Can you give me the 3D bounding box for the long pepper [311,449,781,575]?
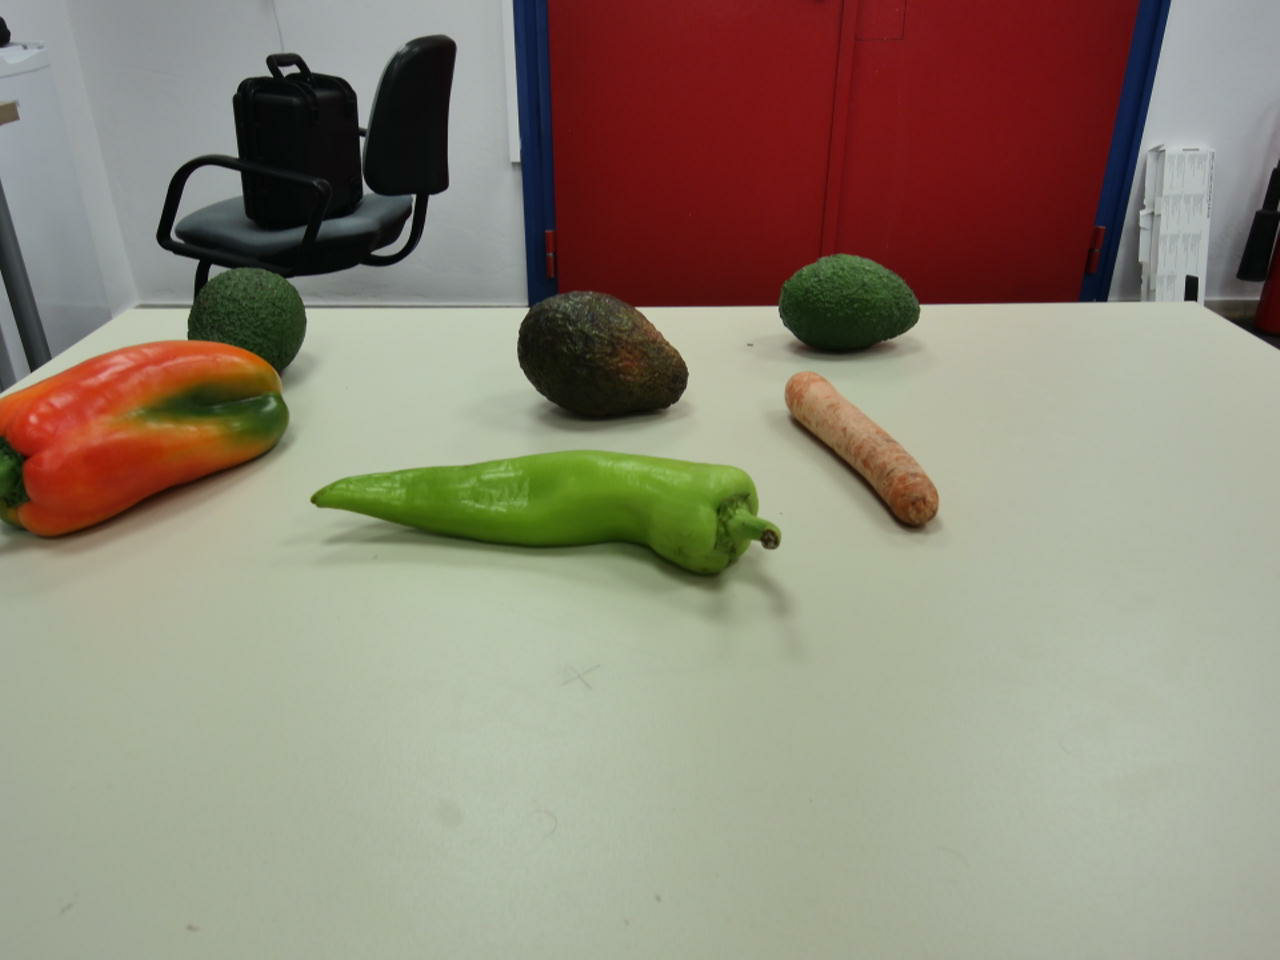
[{"bbox_3d":[-0.036,0.009,0.431,0.205,0.045,0.065,7,25,15],"label":"long pepper"}]
